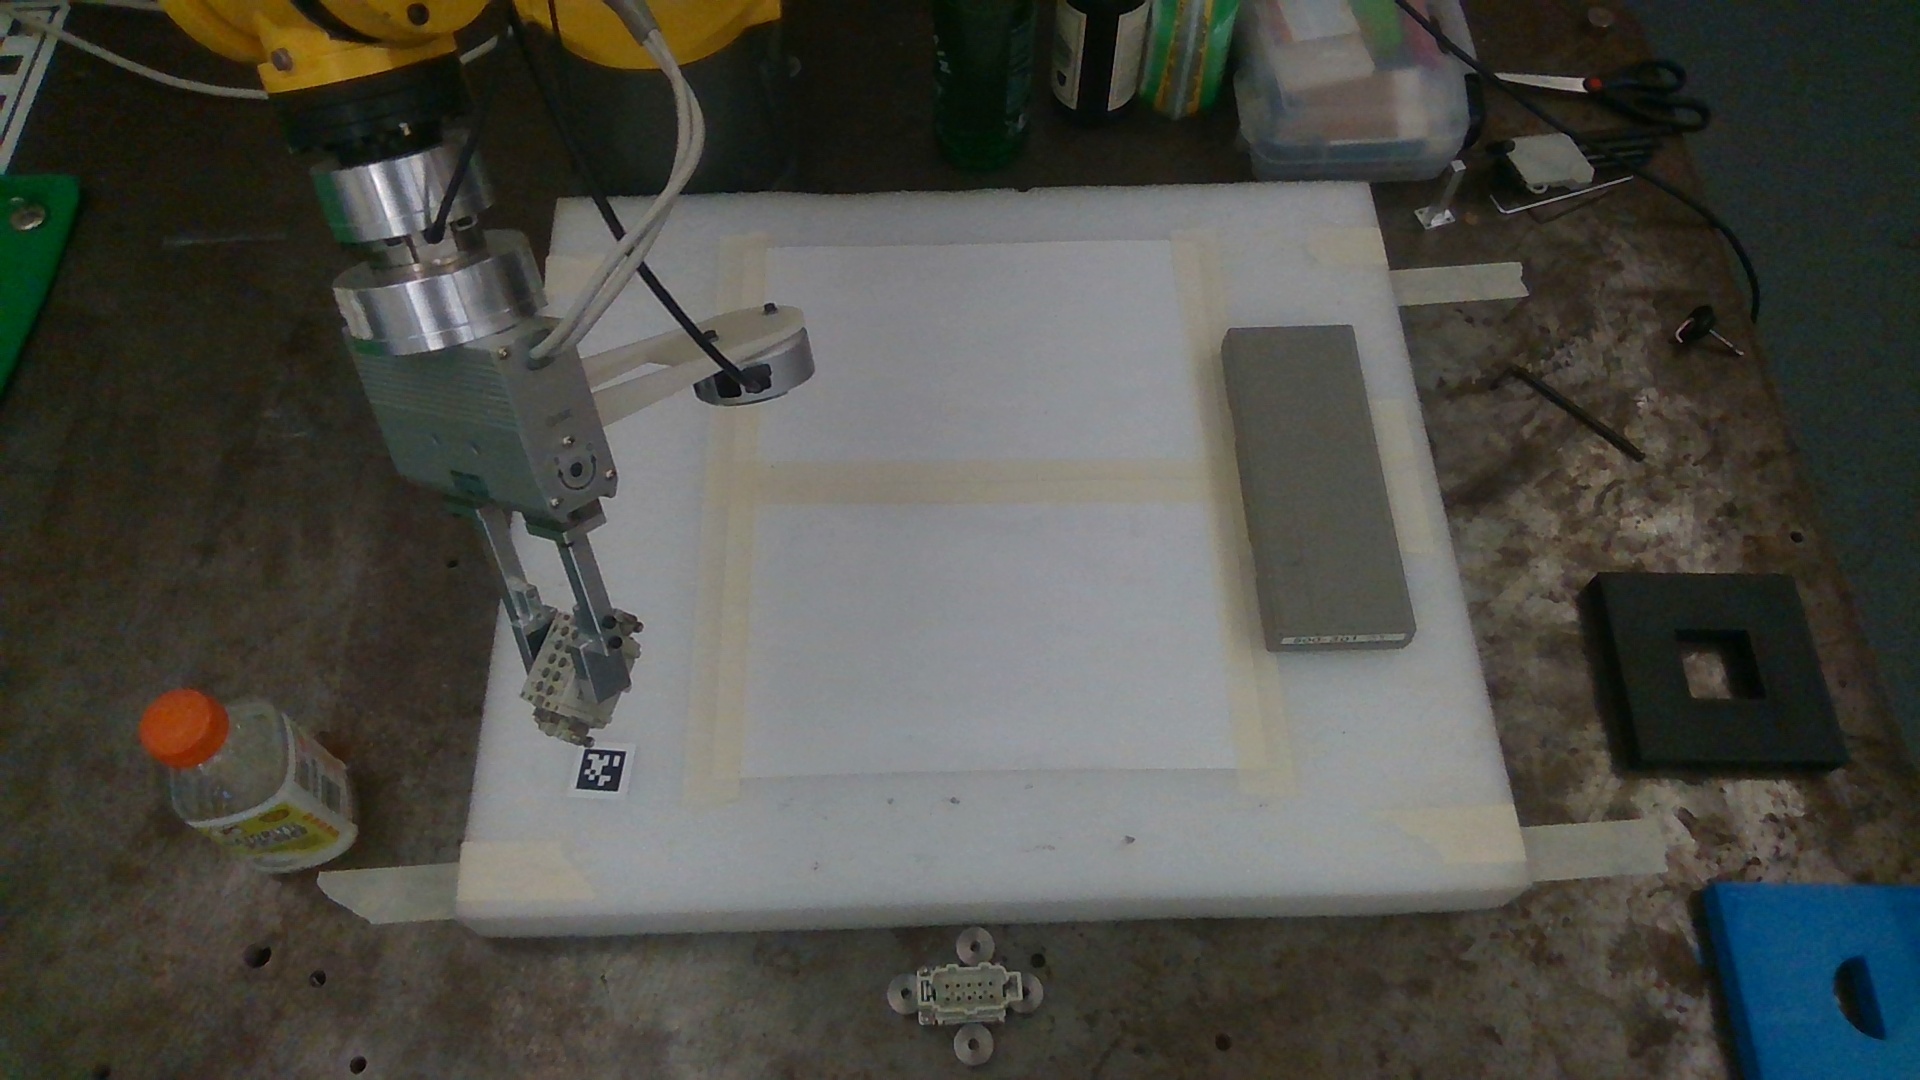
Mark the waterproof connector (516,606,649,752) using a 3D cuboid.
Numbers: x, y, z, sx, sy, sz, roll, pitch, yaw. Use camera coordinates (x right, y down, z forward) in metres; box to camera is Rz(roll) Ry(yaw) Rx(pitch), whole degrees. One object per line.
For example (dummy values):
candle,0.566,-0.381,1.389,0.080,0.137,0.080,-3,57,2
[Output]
waterproof connector,-0.171,0.063,0.639,0.037,0.038,0.069,12,66,33
